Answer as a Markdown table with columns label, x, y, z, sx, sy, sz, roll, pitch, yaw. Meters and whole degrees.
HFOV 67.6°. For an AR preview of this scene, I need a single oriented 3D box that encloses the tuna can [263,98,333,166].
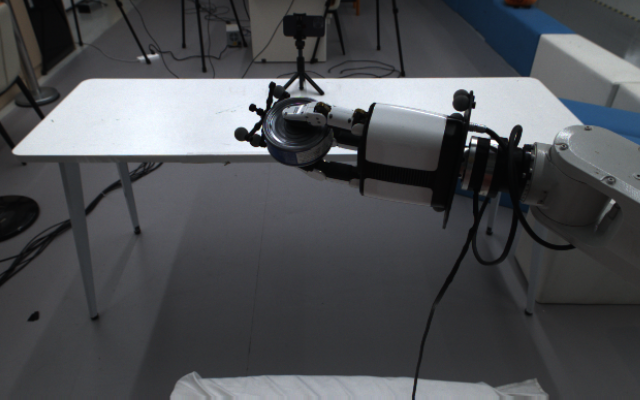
| label | x | y | z | sx | sy | sz | roll | pitch | yaw |
| --- | --- | --- | --- | --- | --- | --- | --- | --- | --- |
| tuna can | -0.023 | -0.082 | 0.595 | 0.085 | 0.034 | 0.085 | -1 | 61 | 1 |
